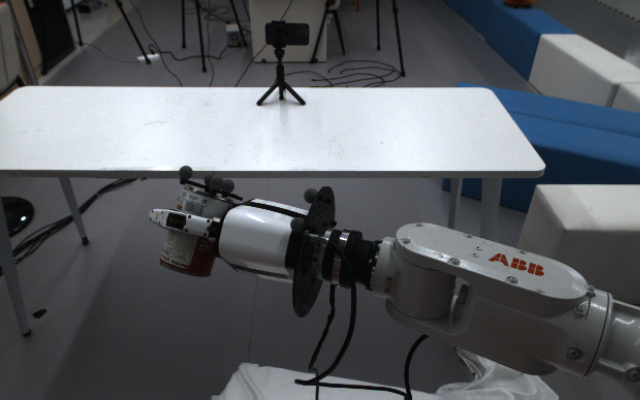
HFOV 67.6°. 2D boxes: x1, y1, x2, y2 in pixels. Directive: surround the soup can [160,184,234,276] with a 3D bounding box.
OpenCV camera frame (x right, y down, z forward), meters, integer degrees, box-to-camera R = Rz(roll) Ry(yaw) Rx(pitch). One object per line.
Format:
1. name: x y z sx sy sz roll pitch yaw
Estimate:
1. soup can: -0.155 0.040 0.614 0.067 0.101 0.067 17 -1 0
